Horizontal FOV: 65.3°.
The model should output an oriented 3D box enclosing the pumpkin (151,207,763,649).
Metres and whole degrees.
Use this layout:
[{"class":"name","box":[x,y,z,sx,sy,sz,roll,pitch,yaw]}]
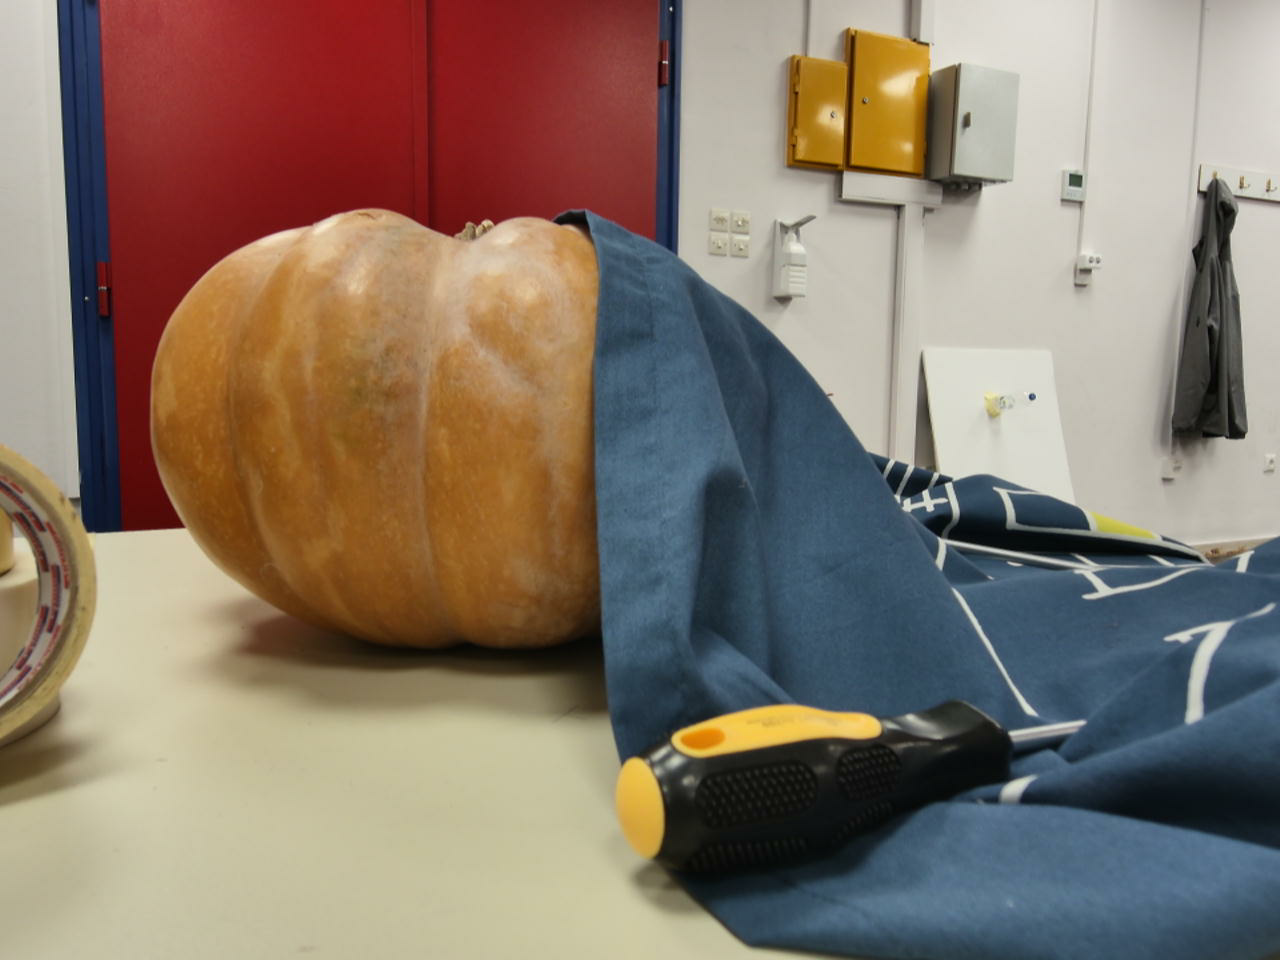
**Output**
[{"class":"pumpkin","box":[-0.073,-0.024,0.447,0.277,0.181,0.277,0,5,0]}]
